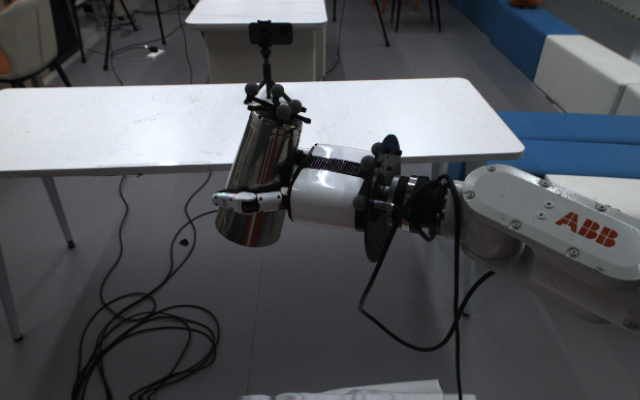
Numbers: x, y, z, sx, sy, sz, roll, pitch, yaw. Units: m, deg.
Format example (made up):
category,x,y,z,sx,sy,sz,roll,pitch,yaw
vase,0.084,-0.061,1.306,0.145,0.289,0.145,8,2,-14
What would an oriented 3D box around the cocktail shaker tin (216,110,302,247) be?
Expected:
category,x,y,z,sx,sy,sz,roll,pitch,yaw
cocktail shaker tin,-0.076,-0.033,0.637,0.093,0.170,0.093,14,27,-7
